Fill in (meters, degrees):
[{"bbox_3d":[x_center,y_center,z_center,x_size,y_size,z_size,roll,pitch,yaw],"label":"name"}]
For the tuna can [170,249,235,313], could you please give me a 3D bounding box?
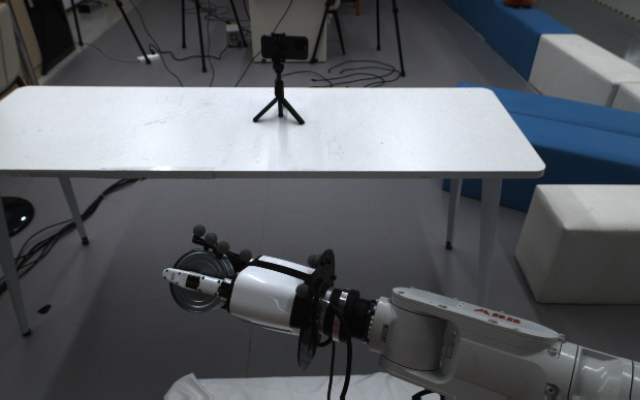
[{"bbox_3d":[-0.159,0.112,0.669,0.085,0.085,0.034,13,-6,16],"label":"tuna can"}]
